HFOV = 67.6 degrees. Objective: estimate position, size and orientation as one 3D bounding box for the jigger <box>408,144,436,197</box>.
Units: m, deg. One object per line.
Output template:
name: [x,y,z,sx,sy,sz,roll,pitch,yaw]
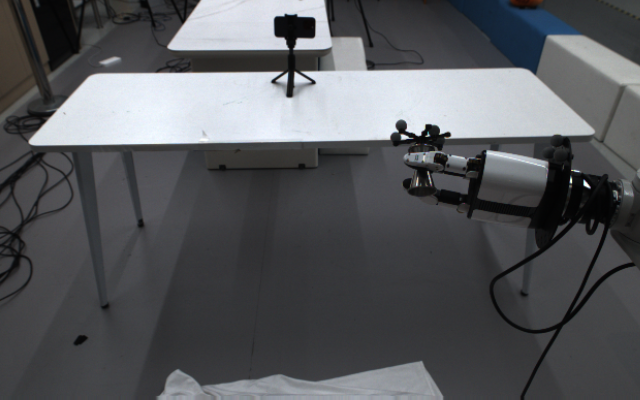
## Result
jigger: [0.149,-0.046,0.717,0.043,0.043,0.071,3,72,1]
